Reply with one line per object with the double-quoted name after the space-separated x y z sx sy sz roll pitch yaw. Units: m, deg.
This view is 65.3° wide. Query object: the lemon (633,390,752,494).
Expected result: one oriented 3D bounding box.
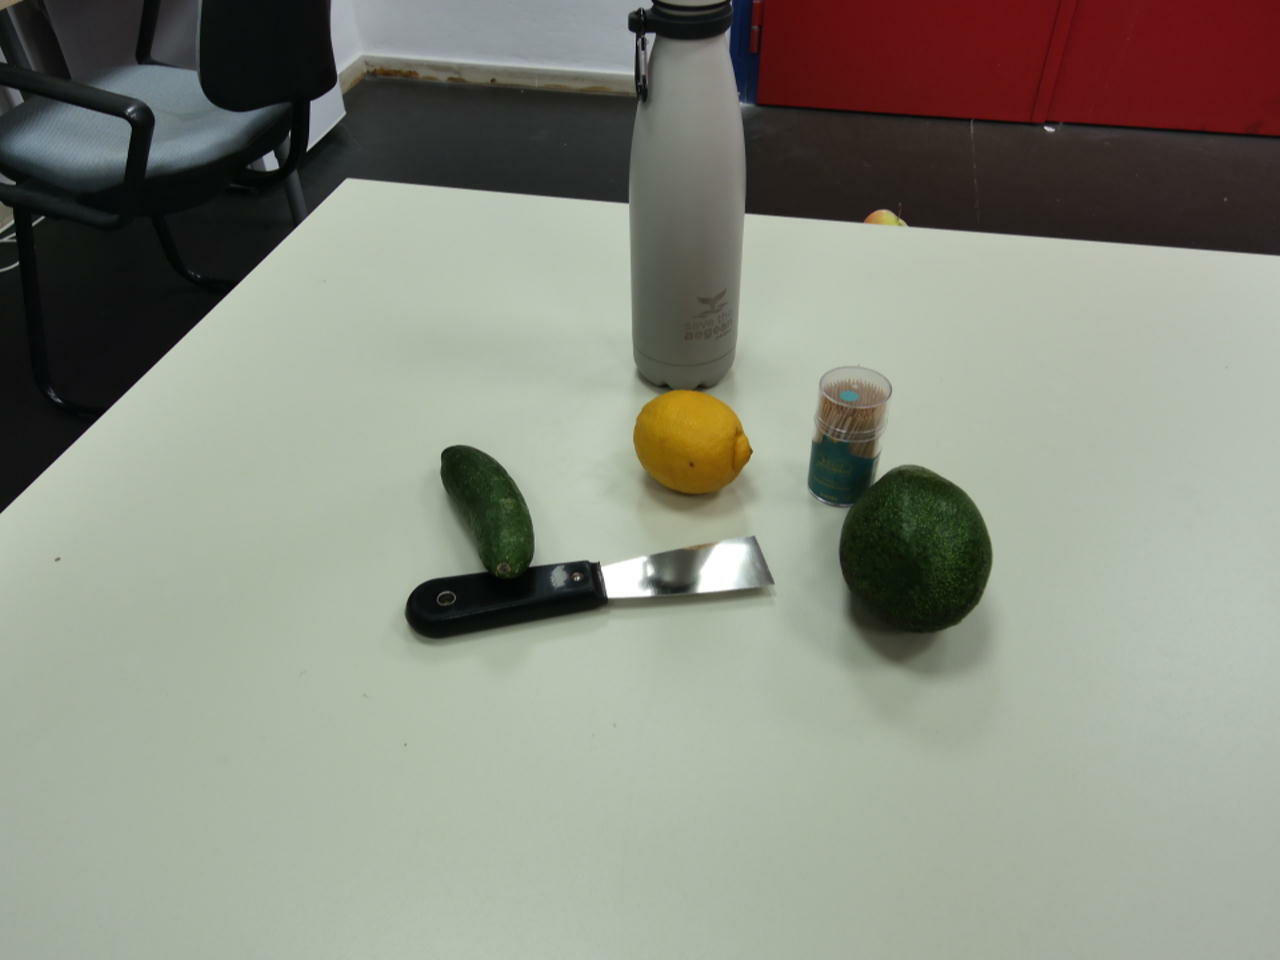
0.030 -0.022 0.589 0.060 0.059 0.067 -24 45 -27 "lemon"
